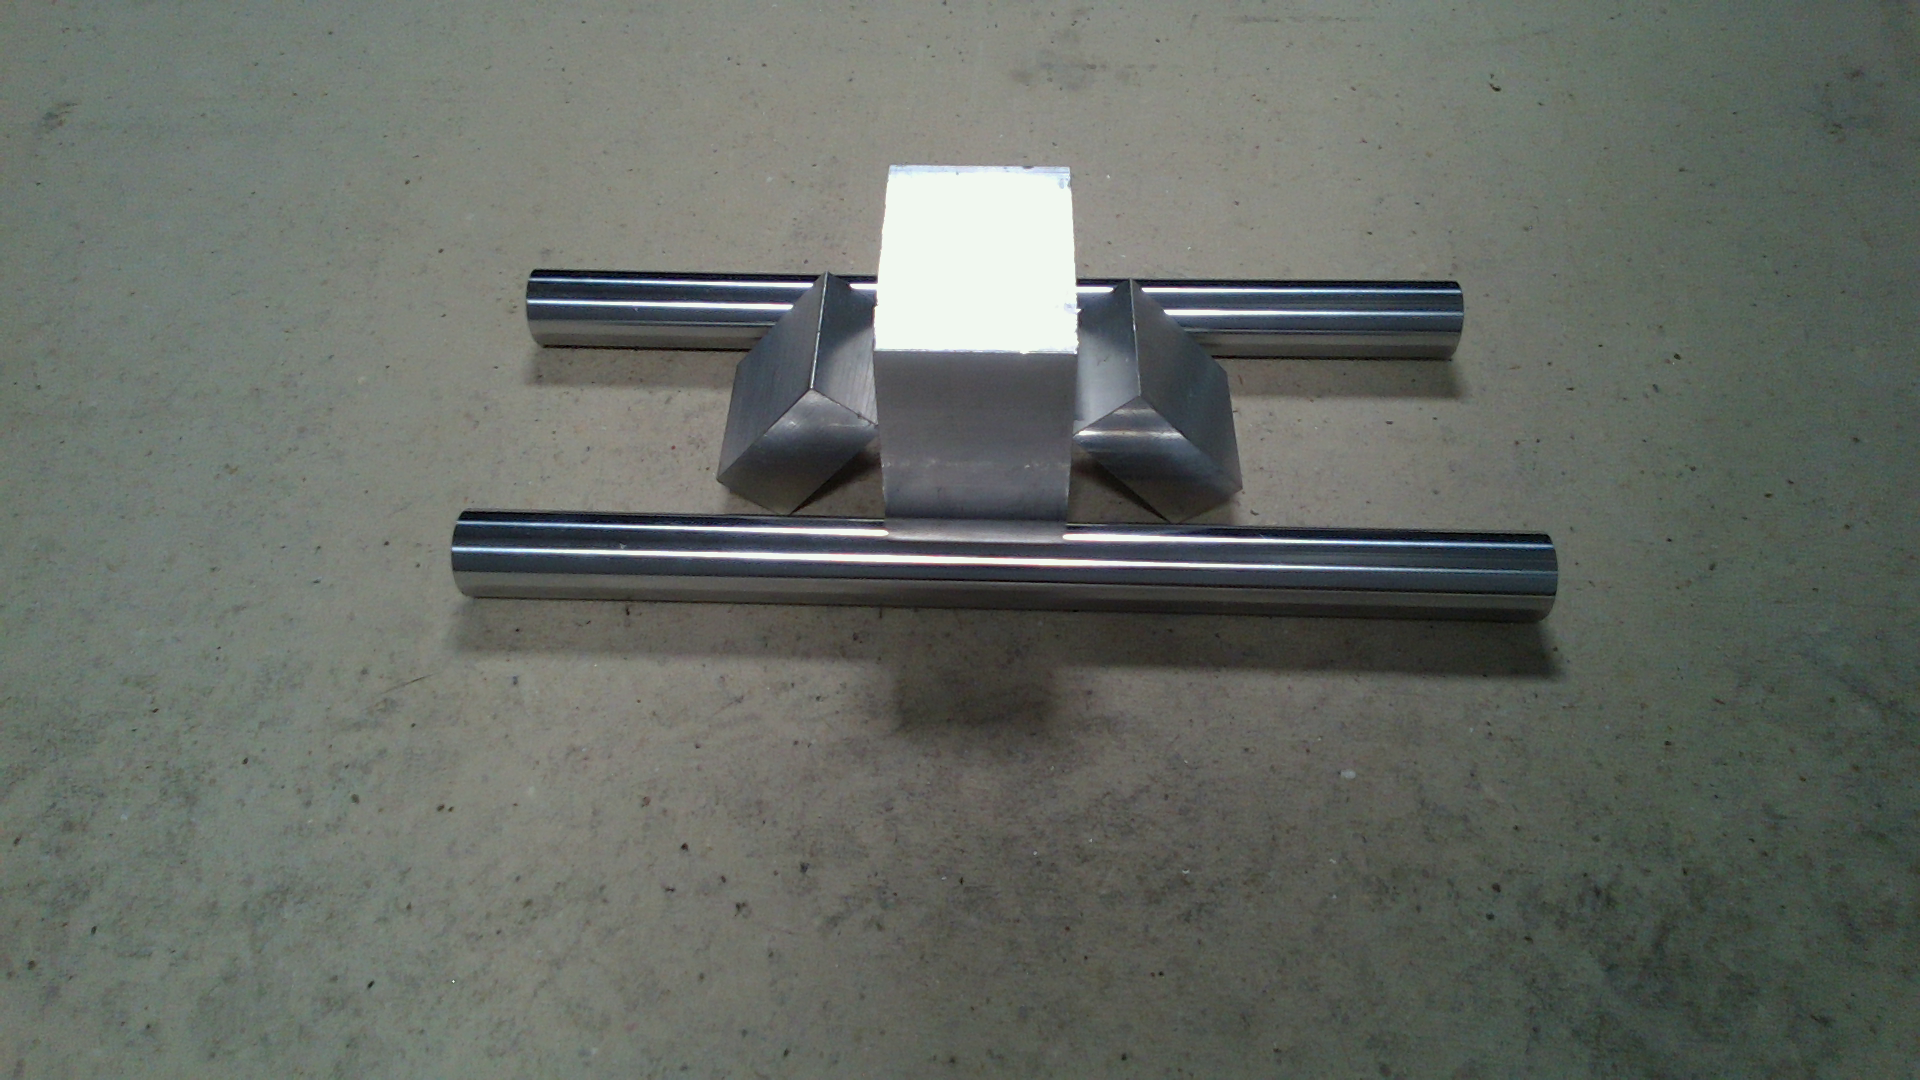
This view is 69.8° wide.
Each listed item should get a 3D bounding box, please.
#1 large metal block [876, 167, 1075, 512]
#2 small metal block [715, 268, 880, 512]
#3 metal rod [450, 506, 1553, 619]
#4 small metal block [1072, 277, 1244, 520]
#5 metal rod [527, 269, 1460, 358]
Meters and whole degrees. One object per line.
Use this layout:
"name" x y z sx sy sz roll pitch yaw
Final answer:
"large metal block" 0.005 -0.051 0.402 0.050 0.080 0.080 1 50 1
"small metal block" -0.046 -0.044 0.410 0.025 0.050 0.050 28 43 -28
"metal rod" 0.011 0.006 0.386 0.300 0.025 0.025 1 50 1
"small metal block" 0.057 -0.041 0.408 0.025 0.050 0.050 -30 41 31
"metal rod" 0.010 -0.075 0.455 0.300 0.025 0.025 1 50 1
